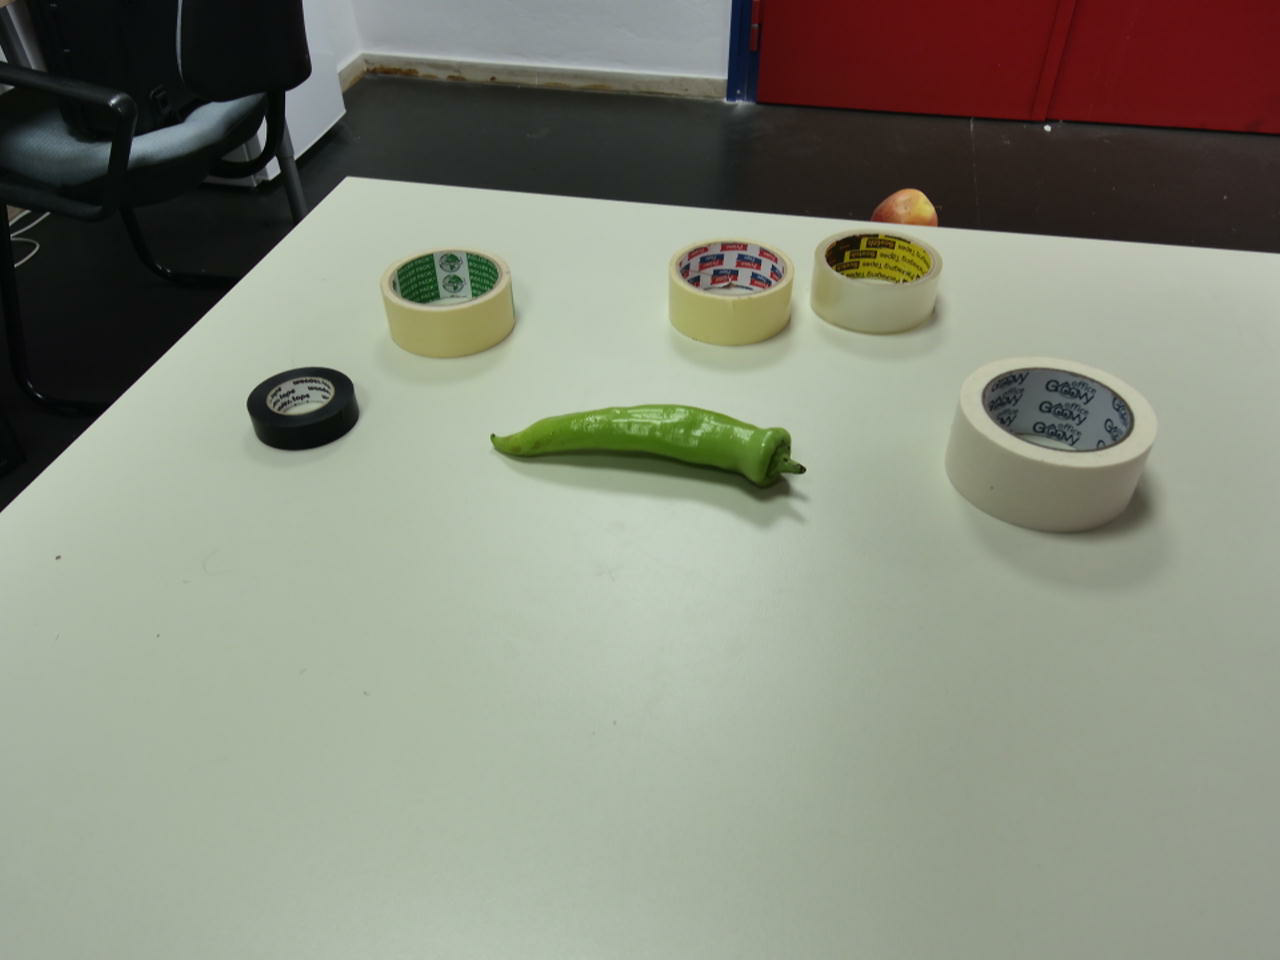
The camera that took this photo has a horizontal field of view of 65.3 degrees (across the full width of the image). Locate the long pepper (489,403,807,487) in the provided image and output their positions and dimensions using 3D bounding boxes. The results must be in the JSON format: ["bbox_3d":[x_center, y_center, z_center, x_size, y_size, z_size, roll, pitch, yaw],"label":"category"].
[{"bbox_3d":[0.004,-0.027,0.602,0.197,0.038,0.046,9,40,12],"label":"long pepper"}]
